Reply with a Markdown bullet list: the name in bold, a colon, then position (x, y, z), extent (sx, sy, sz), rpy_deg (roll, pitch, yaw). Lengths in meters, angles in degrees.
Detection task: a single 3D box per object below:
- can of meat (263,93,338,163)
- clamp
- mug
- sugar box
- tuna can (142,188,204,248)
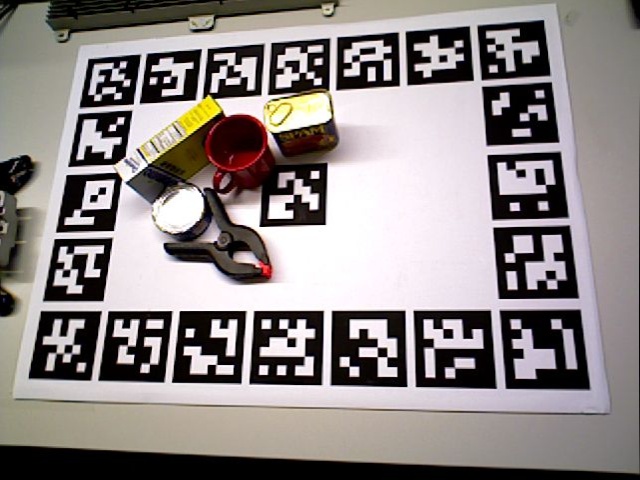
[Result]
- **can of meat**: position (-0.026, -0.161, 0.796), extent (0.102, 0.084, 0.057), rpy_deg (-10, 70, 4)
- **clamp**: position (-0.141, 0.020, 0.787), extent (0.165, 0.037, 0.121), rpy_deg (34, 77, 13)
- **mug**: position (-0.126, -0.112, 0.791), extent (0.093, 0.082, 0.116), rpy_deg (23, 80, 14)
- **sugar box**: position (-0.217, -0.122, 0.812), extent (0.175, 0.093, 0.045), rpy_deg (-38, 69, -5)
- **tuna can**: position (-0.218, -0.032, 0.810), extent (0.086, 0.034, 0.085), rpy_deg (-3, 75, 9)
